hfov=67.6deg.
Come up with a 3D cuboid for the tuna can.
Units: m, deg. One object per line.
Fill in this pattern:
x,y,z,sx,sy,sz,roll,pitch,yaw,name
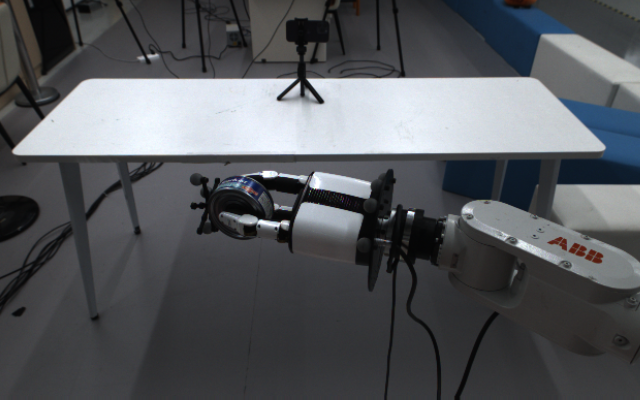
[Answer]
-0.105,0.010,0.657,0.085,0.085,0.034,9,33,10,tuna can
